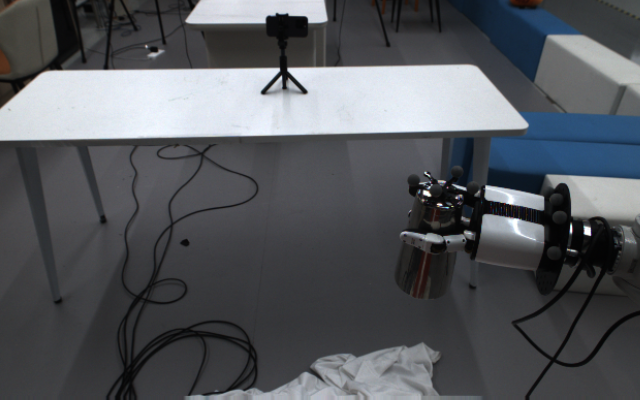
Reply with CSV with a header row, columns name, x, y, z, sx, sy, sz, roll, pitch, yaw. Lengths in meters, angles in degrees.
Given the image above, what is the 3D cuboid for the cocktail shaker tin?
name,x,y,z,sx,sy,sz,roll,pitch,yaw
cocktail shaker tin,0.172,0.056,0.734,0.093,0.170,0.093,1,39,-1
